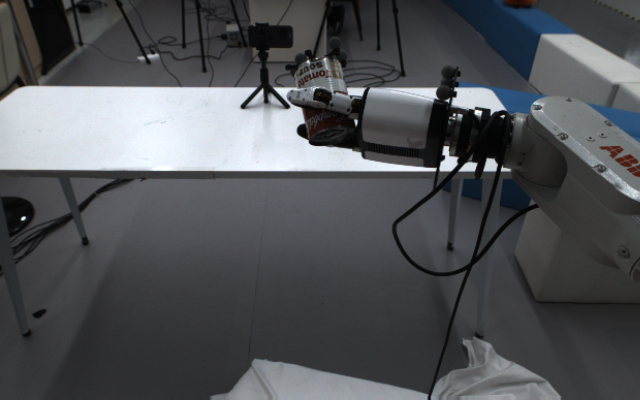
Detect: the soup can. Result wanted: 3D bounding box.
[{"bbox_3d":[0.007,-0.133,0.659,0.067,0.067,0.101,-10,79,-16],"label":"soup can"}]
